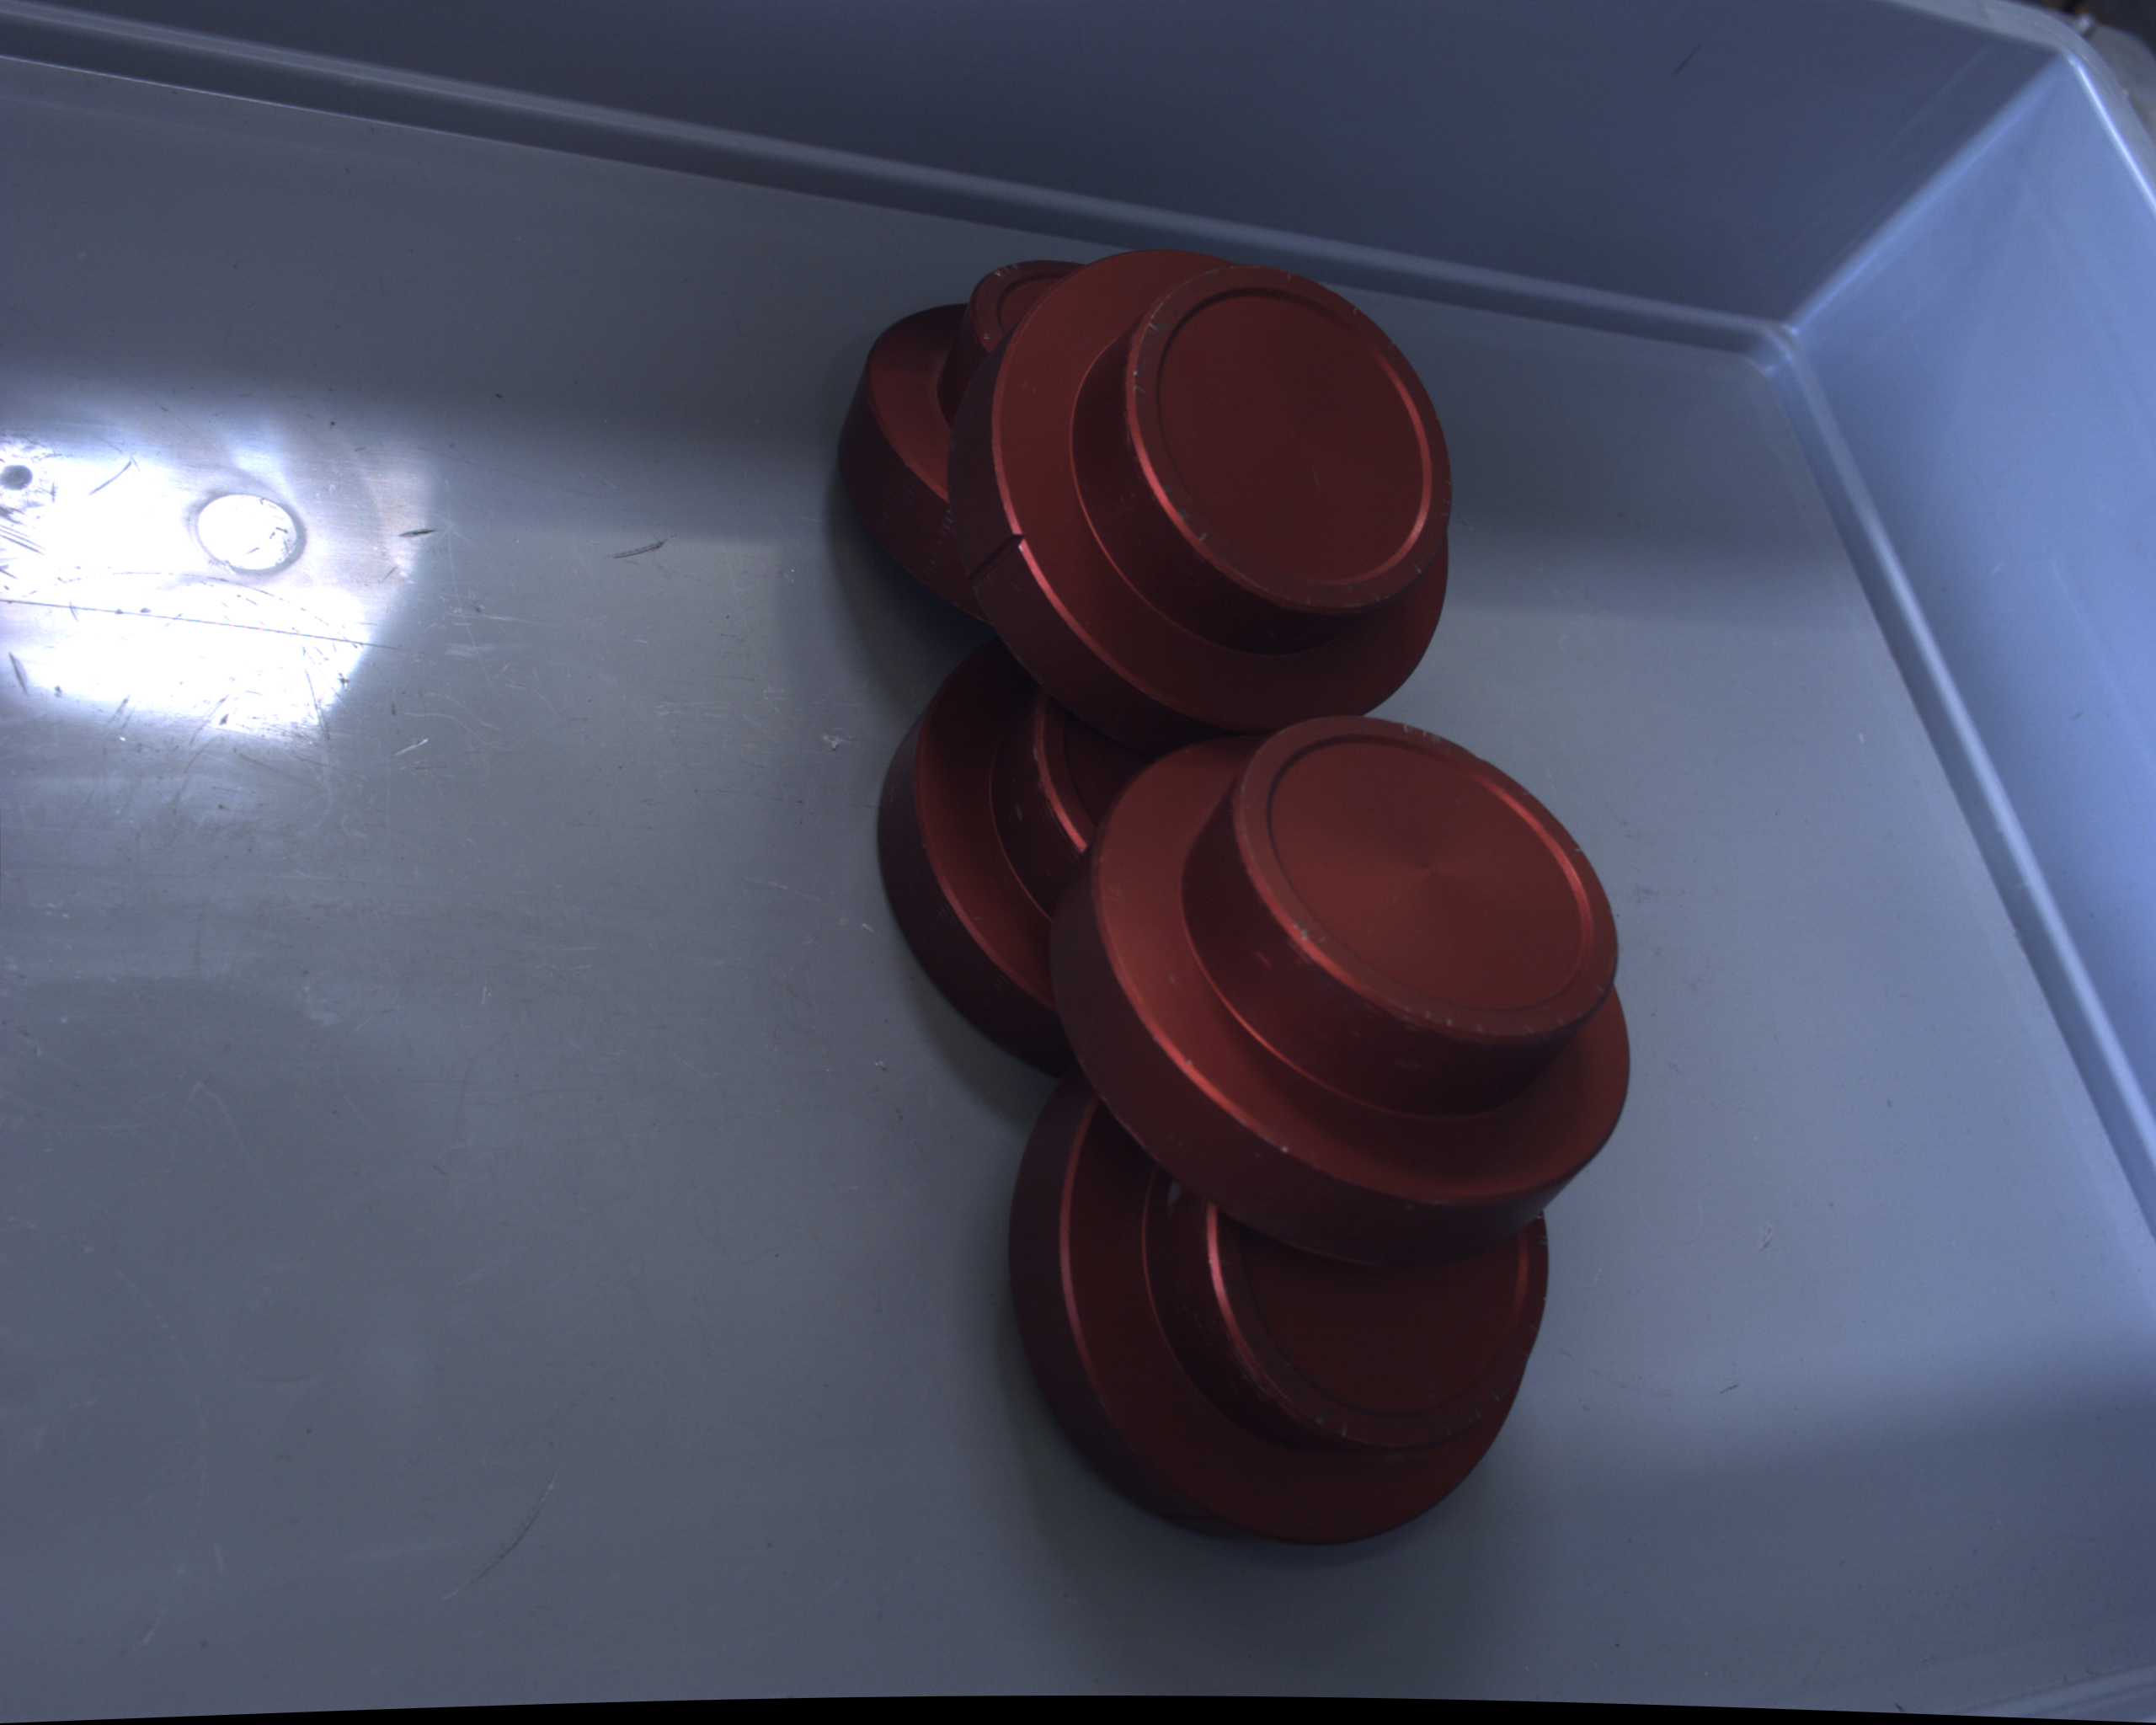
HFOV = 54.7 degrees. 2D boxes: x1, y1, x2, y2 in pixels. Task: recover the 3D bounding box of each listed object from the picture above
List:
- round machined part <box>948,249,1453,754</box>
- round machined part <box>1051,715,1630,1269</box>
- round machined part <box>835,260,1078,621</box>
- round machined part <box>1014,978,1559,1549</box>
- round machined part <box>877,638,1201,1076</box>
[{"bbox_3d":[0.029,-0.070,0.385,0.099,0.042,0.098,9,70,-26],"label":"round machined part"},{"bbox_3d":[0.049,0.014,0.345,0.099,0.042,0.098,15,45,-16],"label":"round machined part"},{"bbox_3d":[0.003,-0.089,0.434,0.099,0.042,0.098,15,40,-13],"label":"round machined part"},{"bbox_3d":[0.042,0.066,0.357,0.099,0.042,0.098,8,73,-26],"label":"round machined part"},{"bbox_3d":[0.014,-0.008,0.405,0.099,0.042,0.098,14,55,-20],"label":"round machined part"}]
